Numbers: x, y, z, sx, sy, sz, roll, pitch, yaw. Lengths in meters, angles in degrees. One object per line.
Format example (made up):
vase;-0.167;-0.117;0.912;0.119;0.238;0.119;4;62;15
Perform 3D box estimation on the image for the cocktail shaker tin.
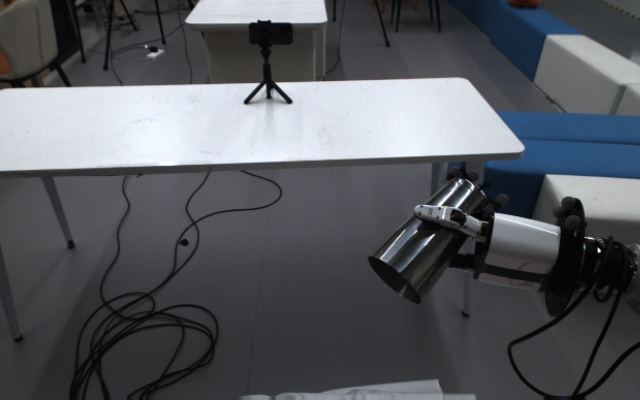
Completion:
cocktail shaker tin;0.156;0.045;0.671;0.170;0.093;0.093;-43;50;-14
